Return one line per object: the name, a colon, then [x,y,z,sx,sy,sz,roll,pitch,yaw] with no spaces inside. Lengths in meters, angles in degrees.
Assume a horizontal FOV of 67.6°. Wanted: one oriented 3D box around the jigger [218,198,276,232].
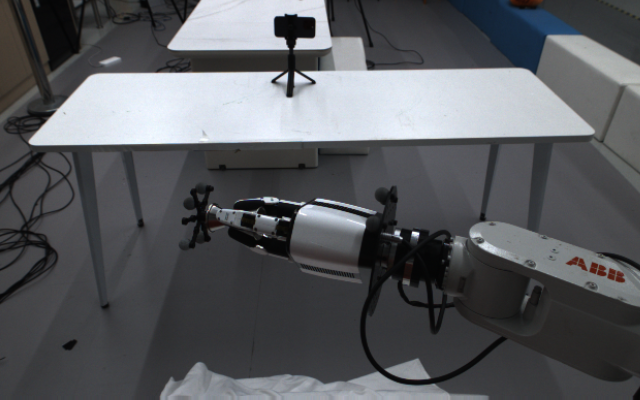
jigger: [-0.103,0.024,0.629,0.071,0.043,0.043,6,35,14]
